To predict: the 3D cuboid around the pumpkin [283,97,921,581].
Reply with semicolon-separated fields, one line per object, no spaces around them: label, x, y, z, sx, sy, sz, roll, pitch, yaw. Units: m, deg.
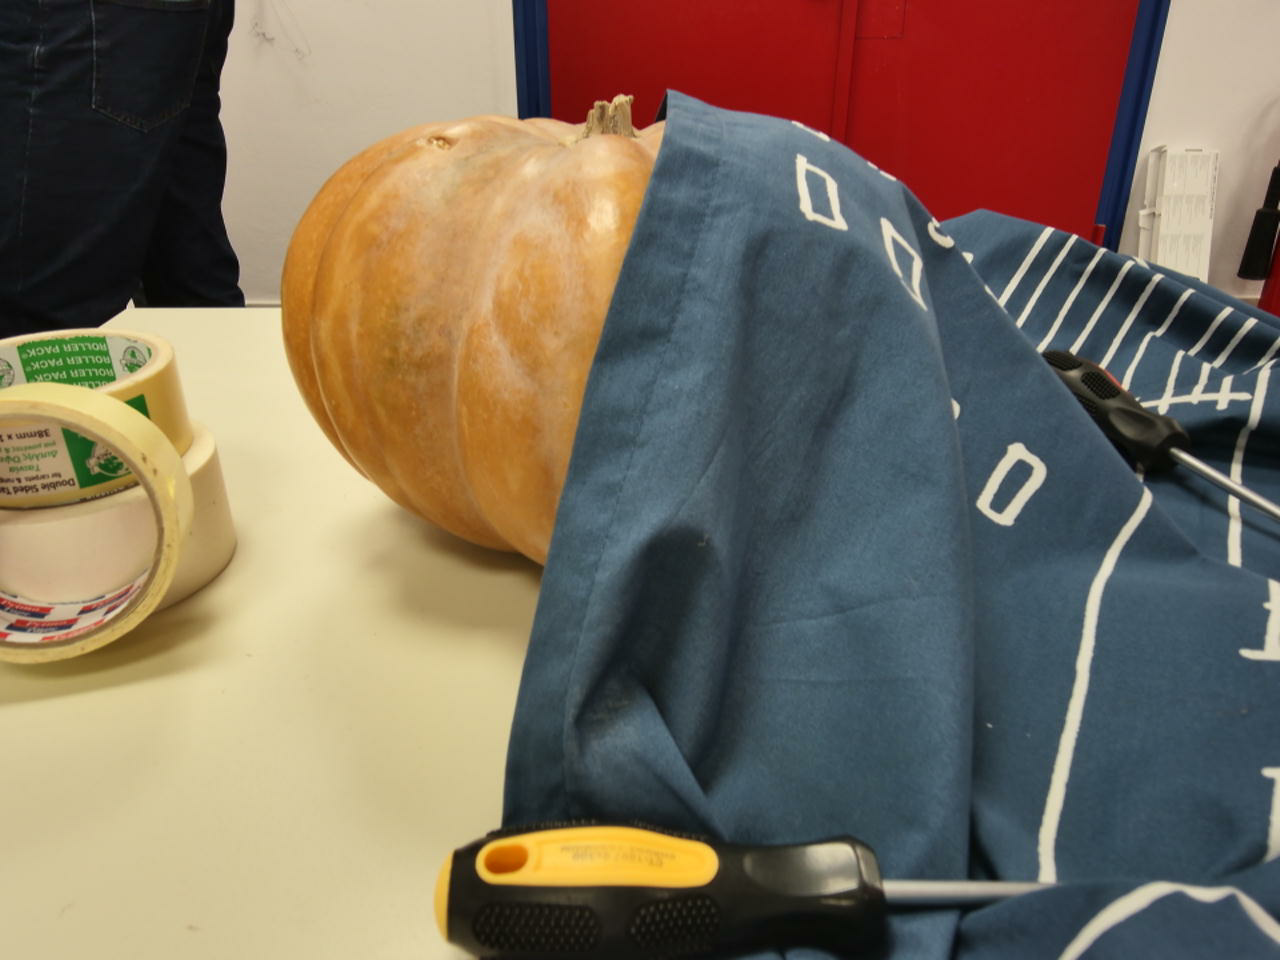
pumpkin;-0.013;-0.069;0.433;0.277;0.181;0.277;0;25;0
